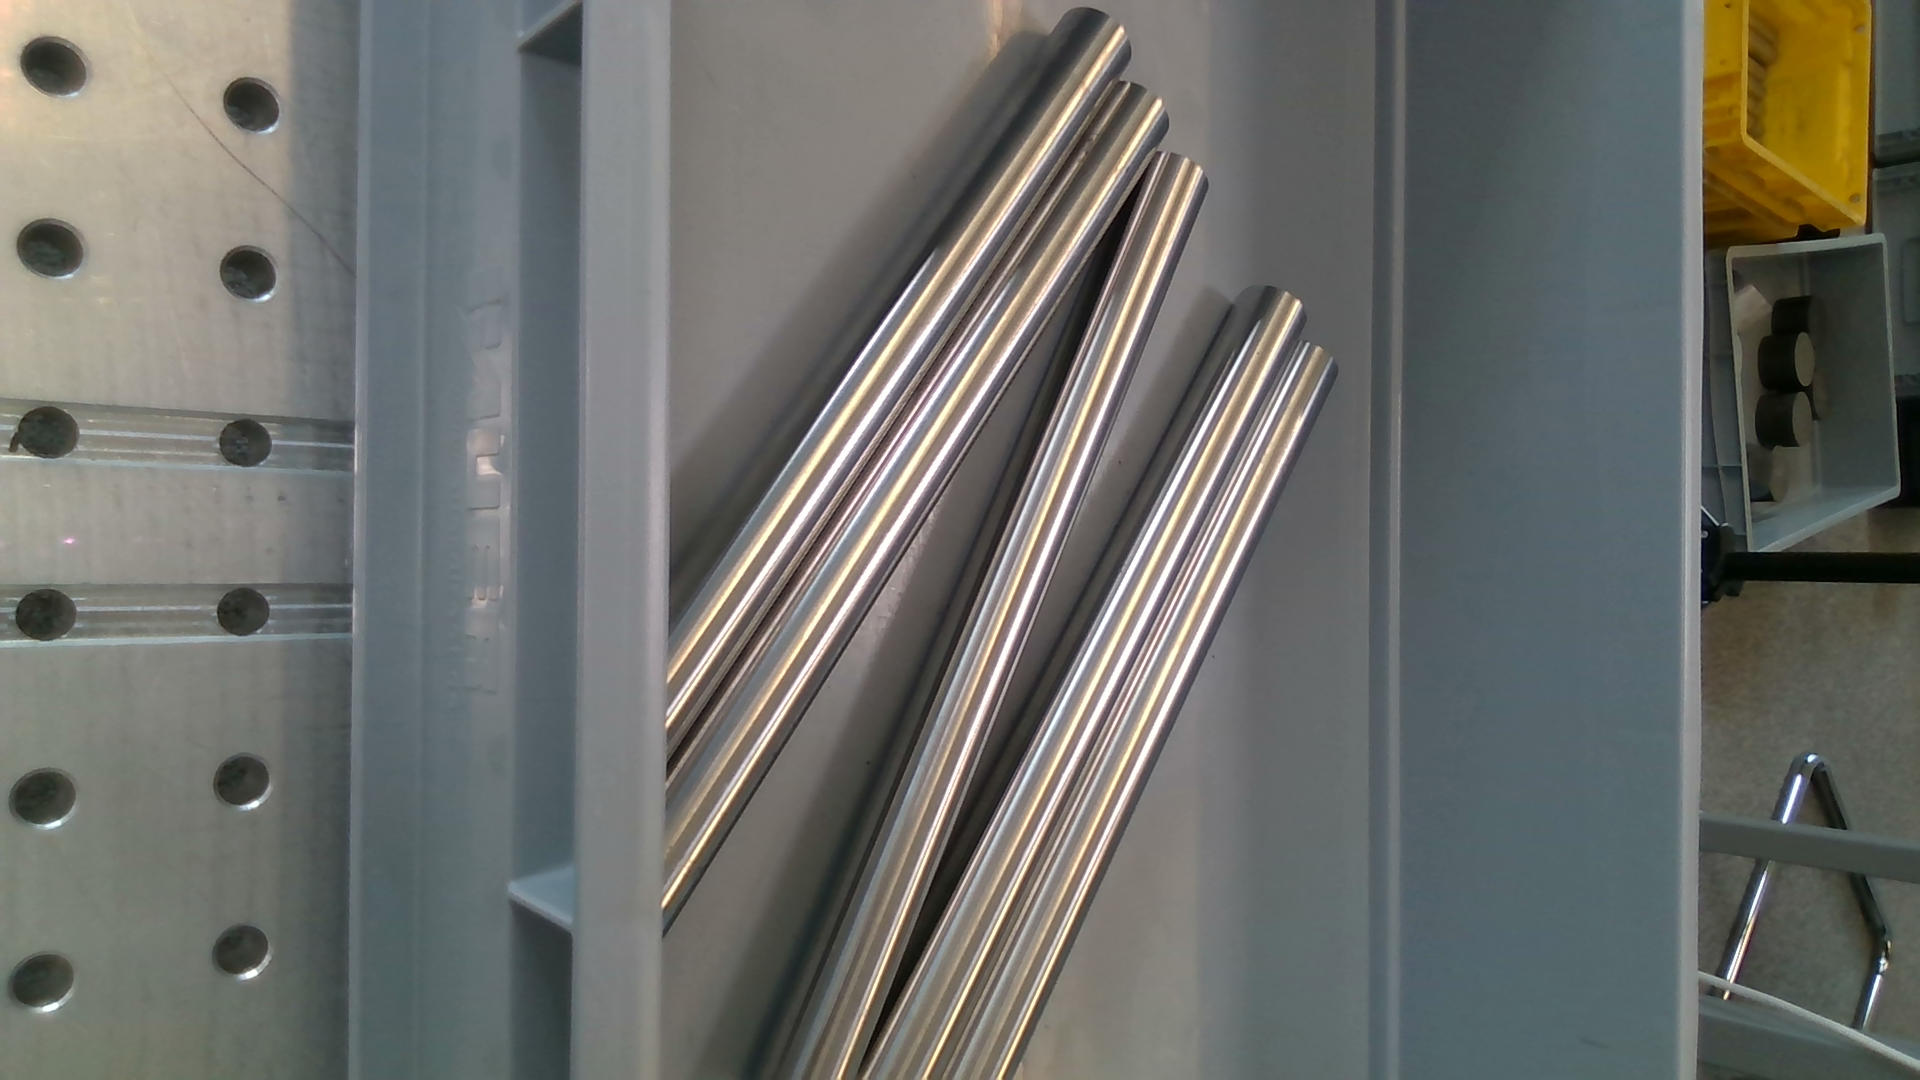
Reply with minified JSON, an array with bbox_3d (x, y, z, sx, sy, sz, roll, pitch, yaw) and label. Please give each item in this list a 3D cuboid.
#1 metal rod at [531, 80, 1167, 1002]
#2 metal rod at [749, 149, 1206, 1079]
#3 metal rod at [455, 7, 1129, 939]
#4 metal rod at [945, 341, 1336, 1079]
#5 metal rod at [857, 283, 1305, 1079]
[{"bbox_3d":[-0.017,-0.018,0.376,0.025,0.025,0.299,46,63,-30],"label":"metal rod"},{"bbox_3d":[0.013,0.013,0.401,0.025,0.025,0.299,36,68,-34],"label":"metal rod"},{"bbox_3d":[-0.030,-0.036,0.365,0.025,0.025,0.299,46,63,-30],"label":"metal rod"},{"bbox_3d":[0.054,0.056,0.436,0.025,0.025,0.299,44,63,-31],"label":"metal rod"},{"bbox_3d":[0.040,0.039,0.424,0.025,0.025,0.299,44,63,-31],"label":"metal rod"}]
